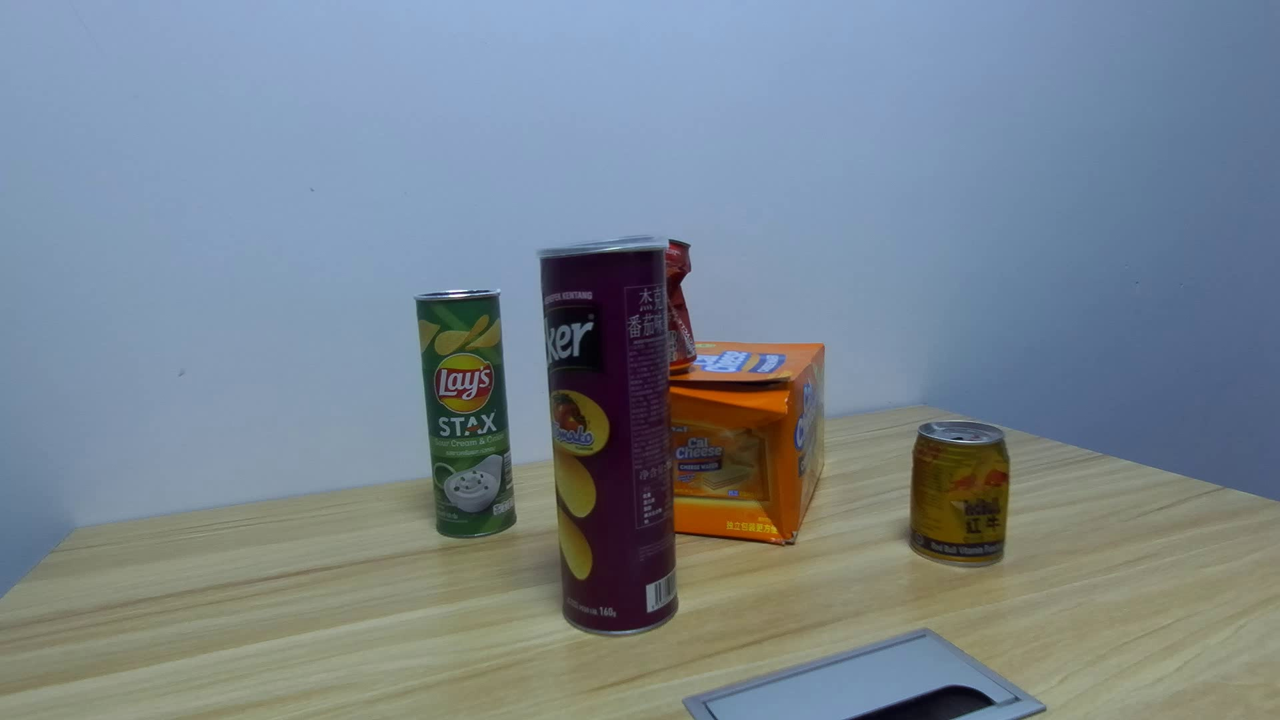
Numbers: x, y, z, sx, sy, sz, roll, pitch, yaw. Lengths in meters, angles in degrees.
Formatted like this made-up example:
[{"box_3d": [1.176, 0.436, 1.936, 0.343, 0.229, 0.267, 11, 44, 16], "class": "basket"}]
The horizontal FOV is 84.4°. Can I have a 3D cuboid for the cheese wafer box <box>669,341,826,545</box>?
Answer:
[{"box_3d": [0.086, 0.060, 0.650, 0.149, 0.137, 0.228, 2, 10, 20], "class": "cheese wafer box"}]

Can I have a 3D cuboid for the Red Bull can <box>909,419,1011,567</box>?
[{"box_3d": [0.234, 0.097, 0.522, 0.069, 0.092, 0.069, -2, 10, 1], "class": "Red Bull can"}]

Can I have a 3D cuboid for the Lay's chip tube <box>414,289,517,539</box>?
[{"box_3d": [-0.145, 0.043, 0.603, 0.071, 0.202, 0.071, -3, 9, 1], "class": "Lay's chip tube"}]

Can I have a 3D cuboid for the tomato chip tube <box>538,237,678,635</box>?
[{"box_3d": [-0.017, 0.048, 0.446, 0.078, 0.233, 0.078, -3, 9, 1], "class": "tomato chip tube"}]

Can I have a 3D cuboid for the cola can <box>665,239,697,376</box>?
[{"box_3d": [0.014, -0.046, 0.586, 0.065, 0.112, 0.069, 6, 13, 40], "class": "cola can"}]
